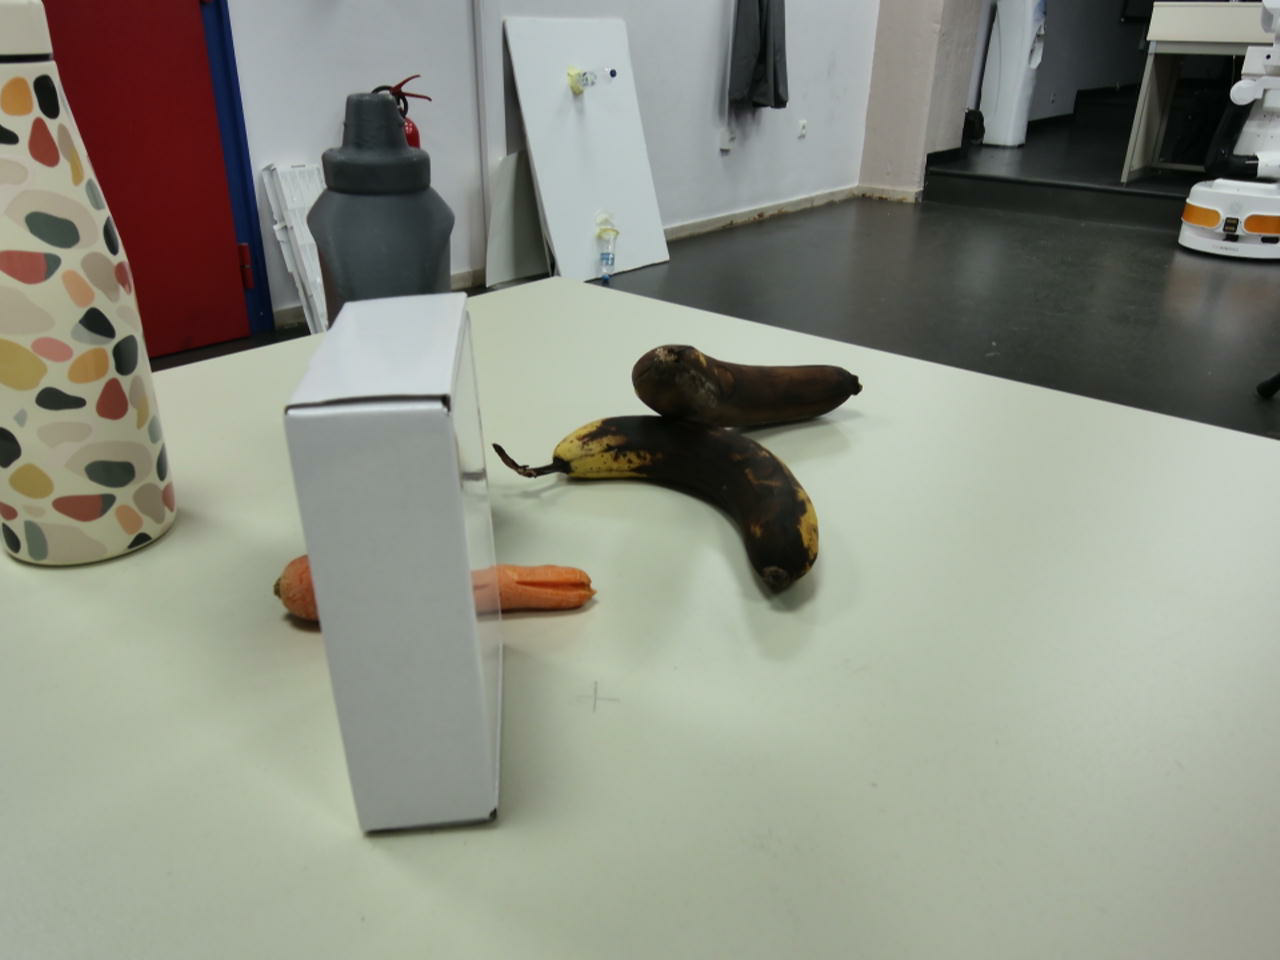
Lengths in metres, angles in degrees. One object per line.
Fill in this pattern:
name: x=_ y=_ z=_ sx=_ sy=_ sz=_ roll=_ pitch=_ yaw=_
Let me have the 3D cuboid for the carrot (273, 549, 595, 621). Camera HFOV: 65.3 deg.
carrot: x=-0.088 y=0.044 z=0.432 sx=0.136 sy=0.032 sz=0.030 roll=-2 pitch=23 yaw=-5
